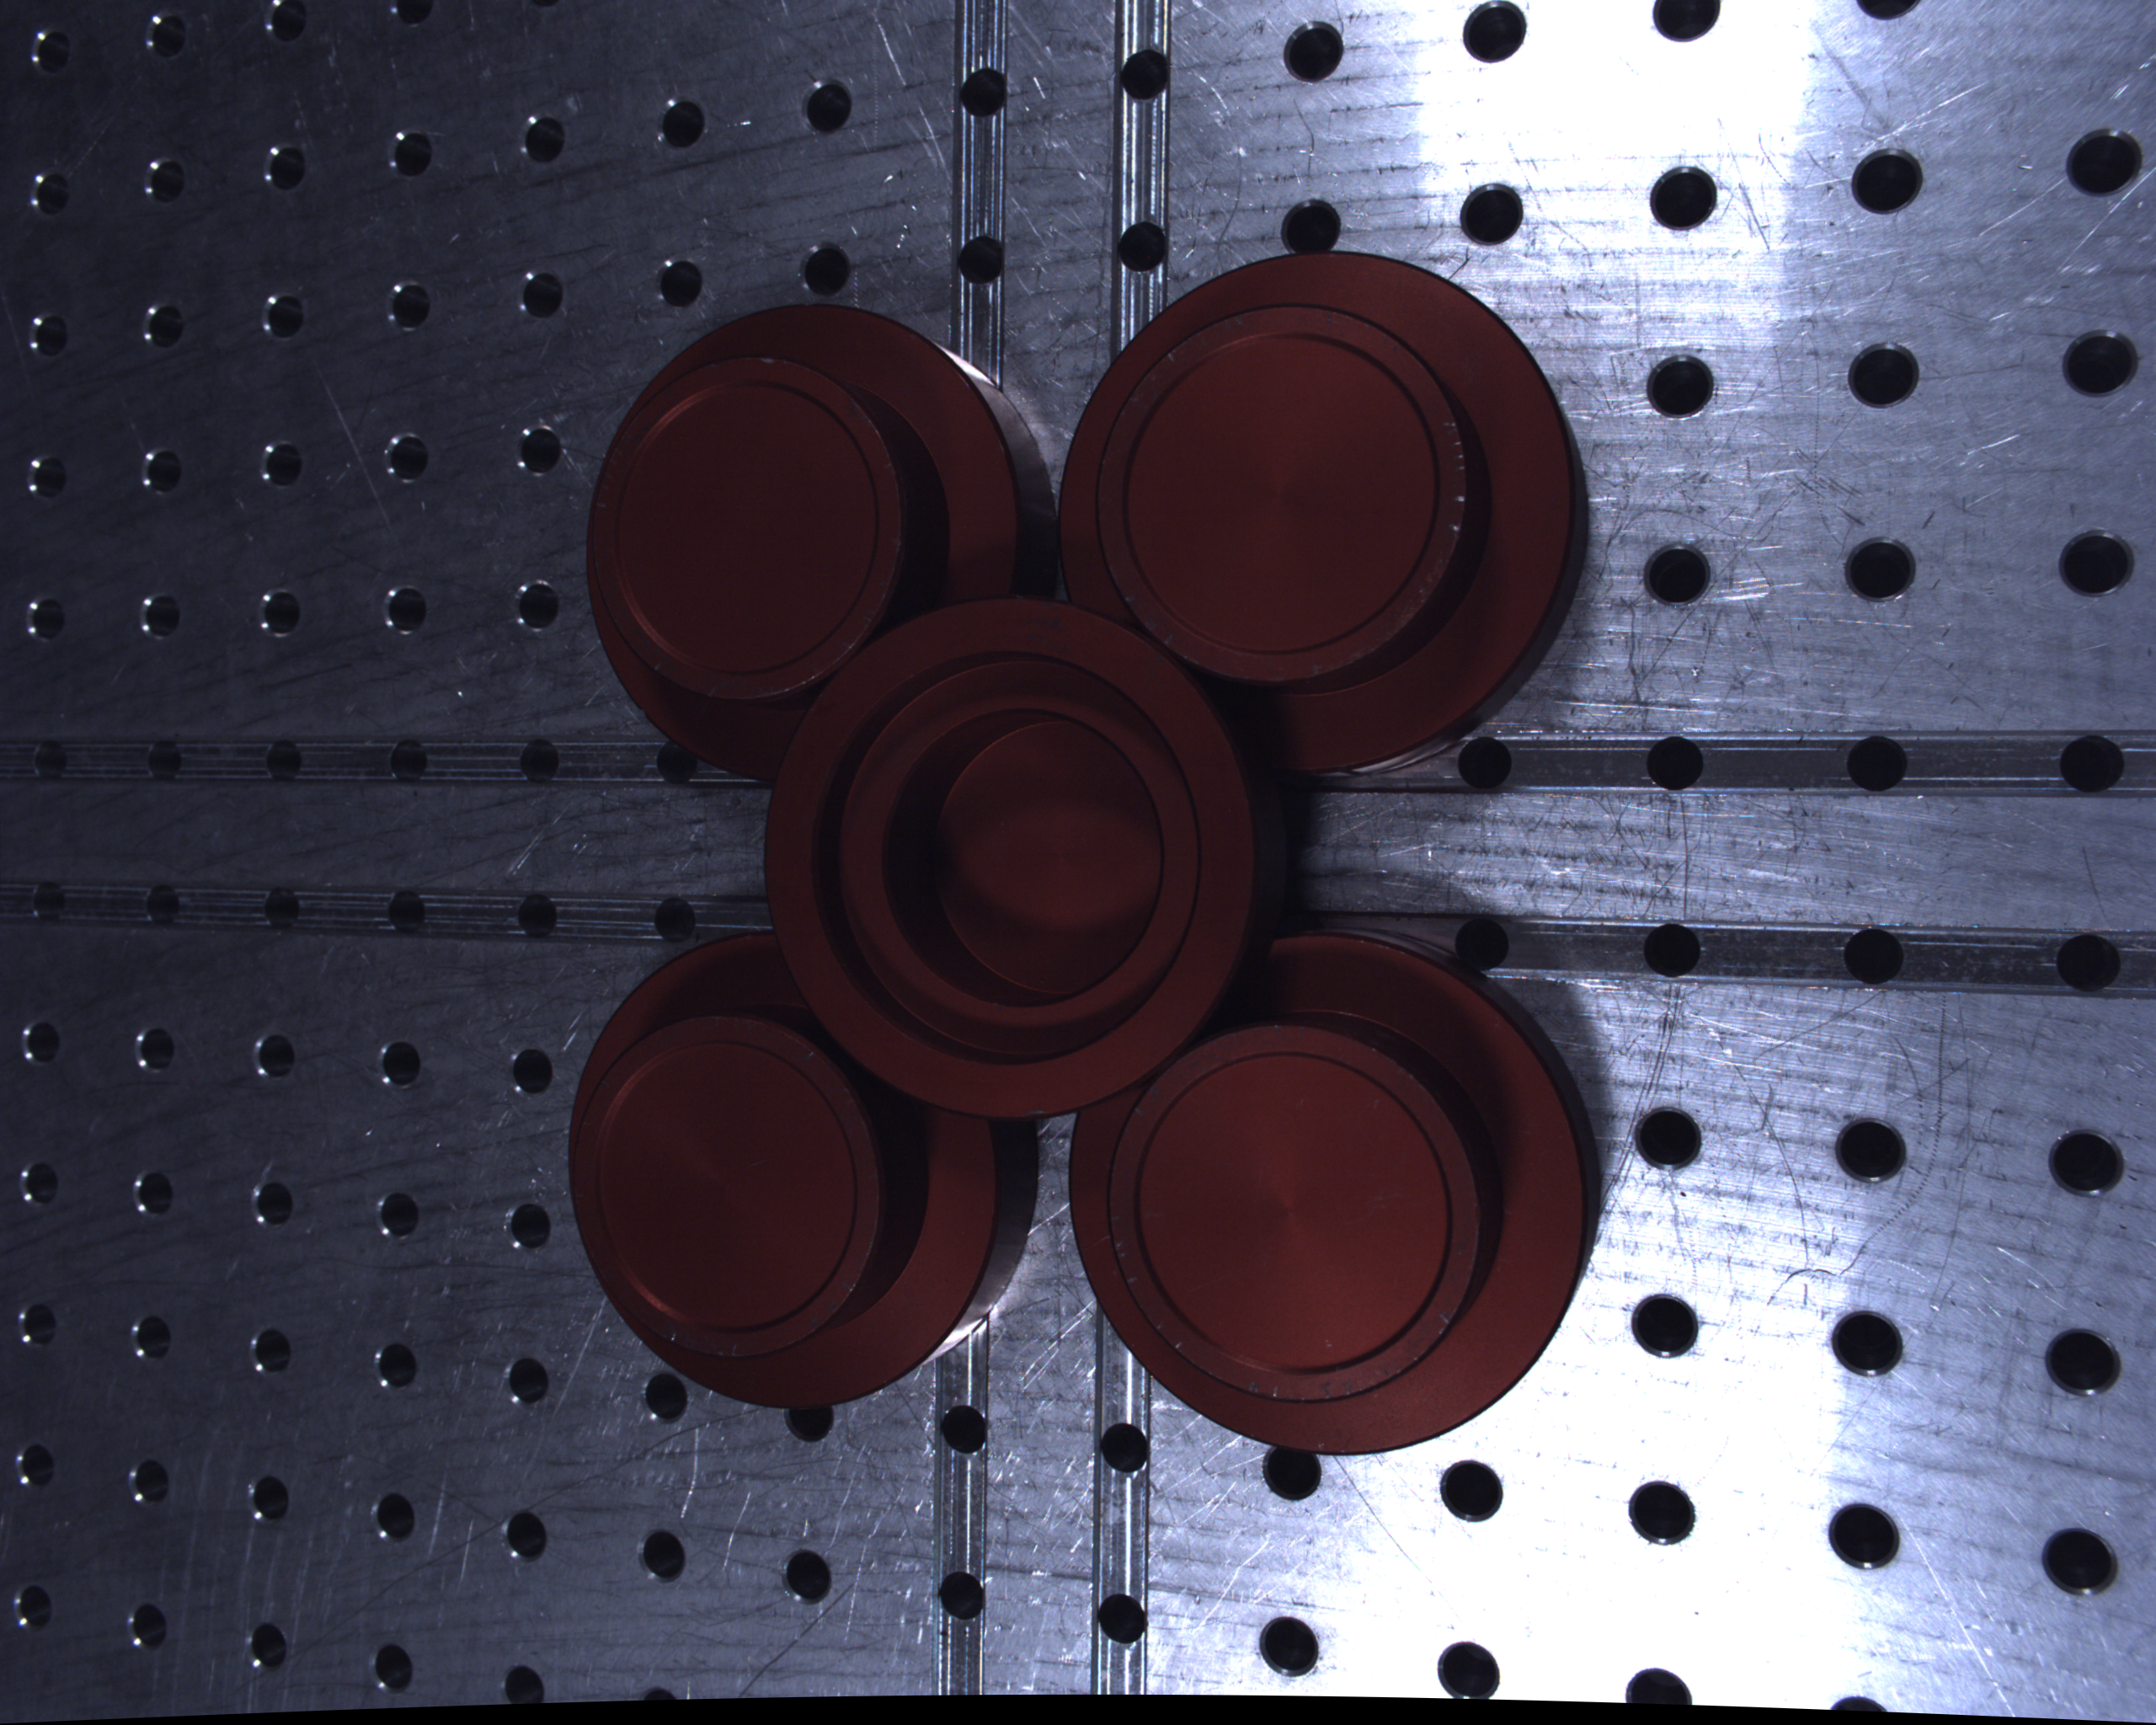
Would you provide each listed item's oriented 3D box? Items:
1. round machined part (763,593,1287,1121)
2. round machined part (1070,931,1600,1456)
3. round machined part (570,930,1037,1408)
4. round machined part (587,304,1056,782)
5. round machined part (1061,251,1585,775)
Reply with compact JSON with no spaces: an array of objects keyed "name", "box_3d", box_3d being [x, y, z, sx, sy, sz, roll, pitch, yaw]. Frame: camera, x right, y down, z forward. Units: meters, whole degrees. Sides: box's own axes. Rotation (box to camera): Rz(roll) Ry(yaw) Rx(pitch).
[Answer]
[{"name":"round machined part","box_3d":[-0.007,-0.001,0.403,0.098,0.042,0.097,0,90,19]},{"name":"round machined part","box_3d":[0.044,0.062,0.387,0.098,0.042,0.097,0,90,19]},{"name":"round machined part","box_3d":[-0.061,0.063,0.424,0.098,0.042,0.097,0,90,19]},{"name":"round machined part","box_3d":[-0.058,-0.064,0.422,0.098,0.042,0.097,0,90,19]},{"name":"round machined part","box_3d":[0.043,-0.065,0.387,0.098,0.042,0.097,0,90,19]}]
